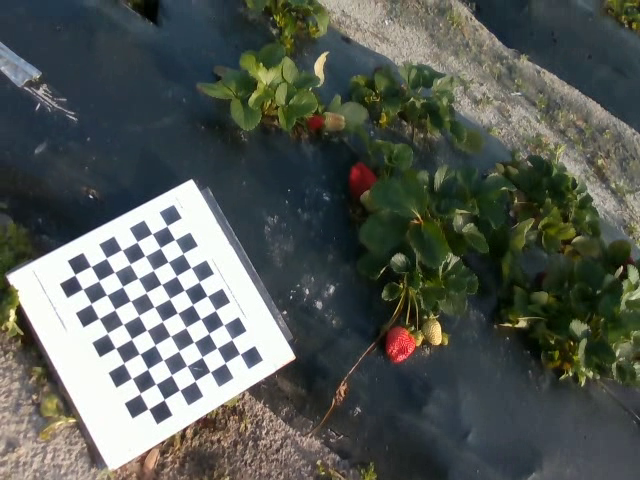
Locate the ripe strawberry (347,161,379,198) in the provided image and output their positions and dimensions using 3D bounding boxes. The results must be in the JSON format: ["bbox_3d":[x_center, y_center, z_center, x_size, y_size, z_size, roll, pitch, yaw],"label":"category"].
[{"bbox_3d":[0.069,-0.102,1.053,0.058,0.071,0.057,-19,16,-12],"label":"ripe strawberry"}]

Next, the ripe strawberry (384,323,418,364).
[{"bbox_3d":[0.118,0.152,0.904,0.047,0.050,0.035,38,-20,1],"label":"ripe strawberry"}]
